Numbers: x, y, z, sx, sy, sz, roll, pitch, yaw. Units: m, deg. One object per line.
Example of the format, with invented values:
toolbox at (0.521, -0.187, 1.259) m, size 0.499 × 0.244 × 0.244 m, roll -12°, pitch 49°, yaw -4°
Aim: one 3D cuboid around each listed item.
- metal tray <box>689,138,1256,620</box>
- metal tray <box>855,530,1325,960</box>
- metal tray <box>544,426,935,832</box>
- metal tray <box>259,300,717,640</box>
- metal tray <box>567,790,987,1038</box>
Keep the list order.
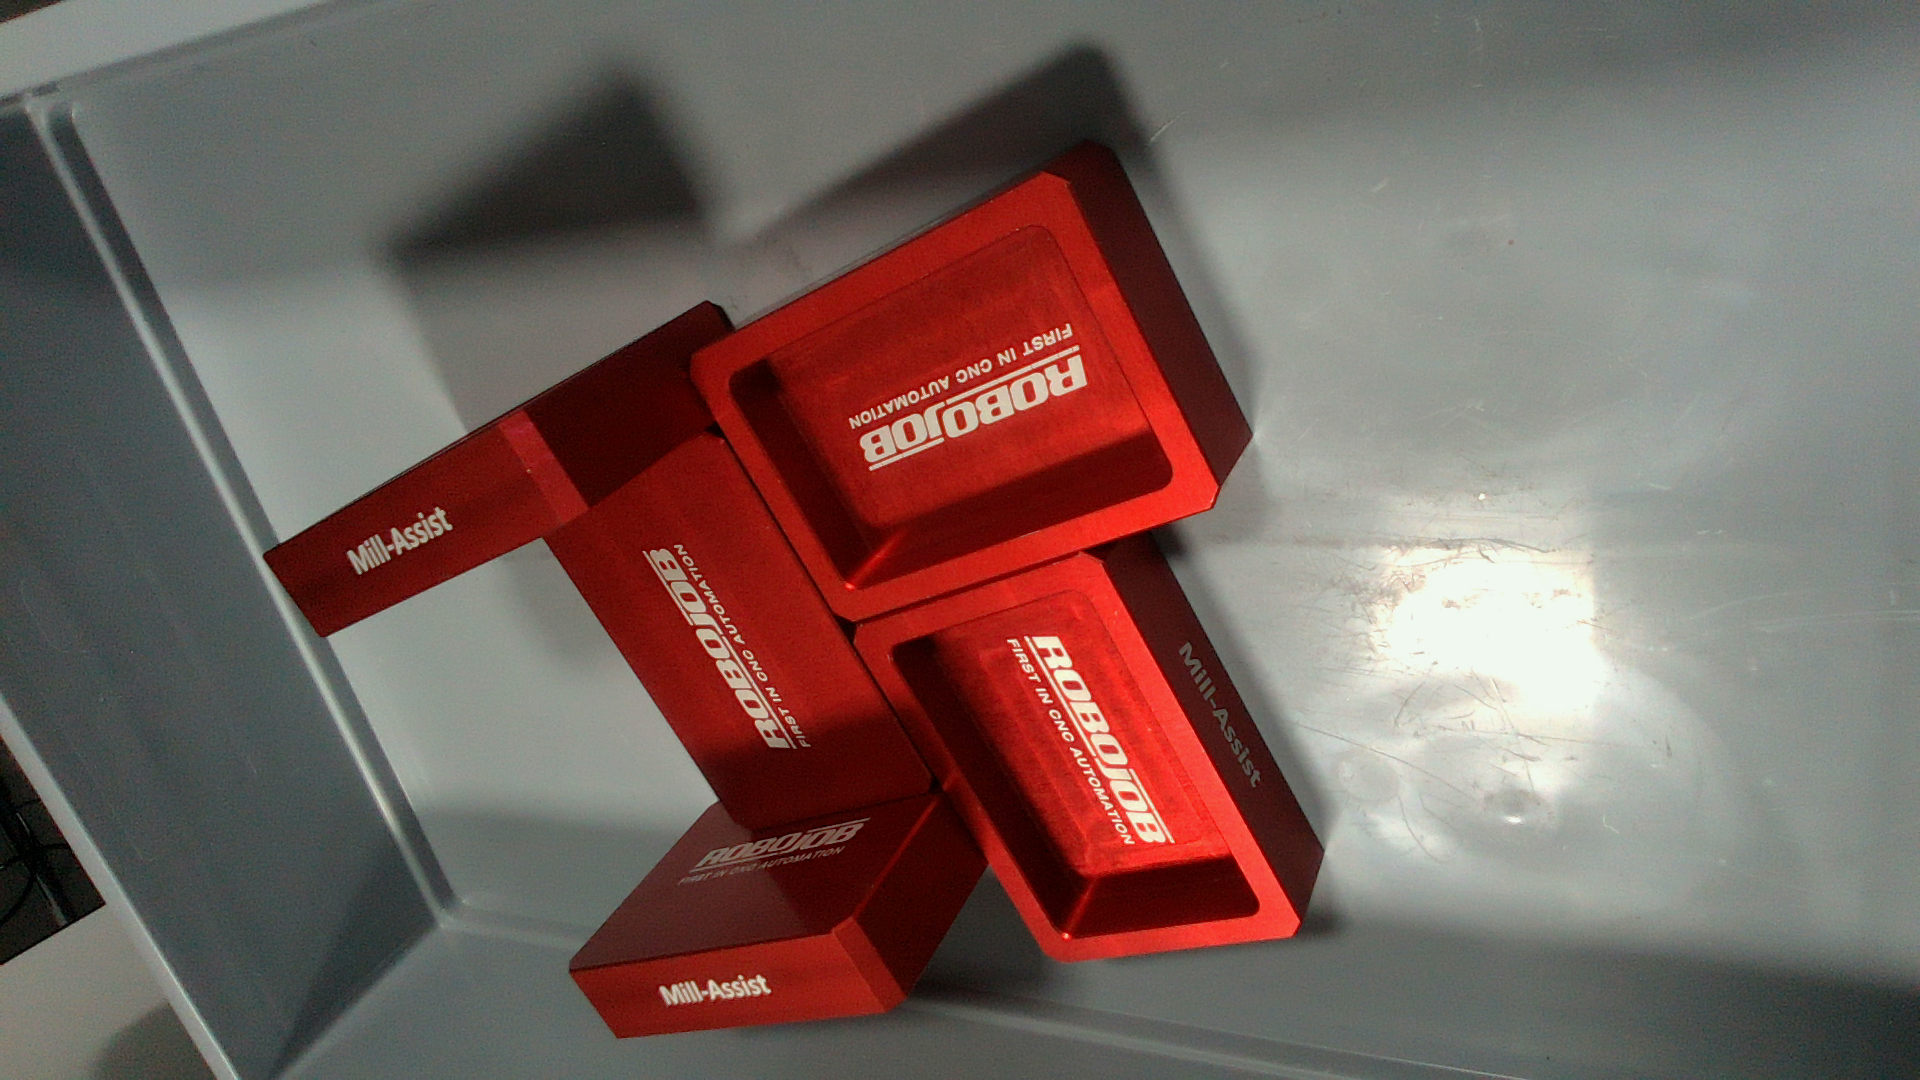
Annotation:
metal tray at (0.000, -0.037, 0.365) m, size 0.129 × 0.030 × 0.090 m, roll -19°, pitch 109°, yaw 35°
metal tray at (0.038, 0.061, 0.405) m, size 0.090 × 0.030 × 0.130 m, roll -19°, pitch 109°, yaw 35°
metal tray at (-0.066, 0.028, 0.440) m, size 0.090 × 0.030 × 0.130 m, roll -19°, pitch 109°, yaw 35°
metal tray at (-0.134, -0.020, 0.406) m, size 0.129 × 0.090 × 0.030 m, roll -20°, pitch 108°, yaw 36°
metal tray at (-0.055, 0.115, 0.448) m, size 0.129 × 0.090 × 0.030 m, roll -19°, pitch 108°, yaw 35°
